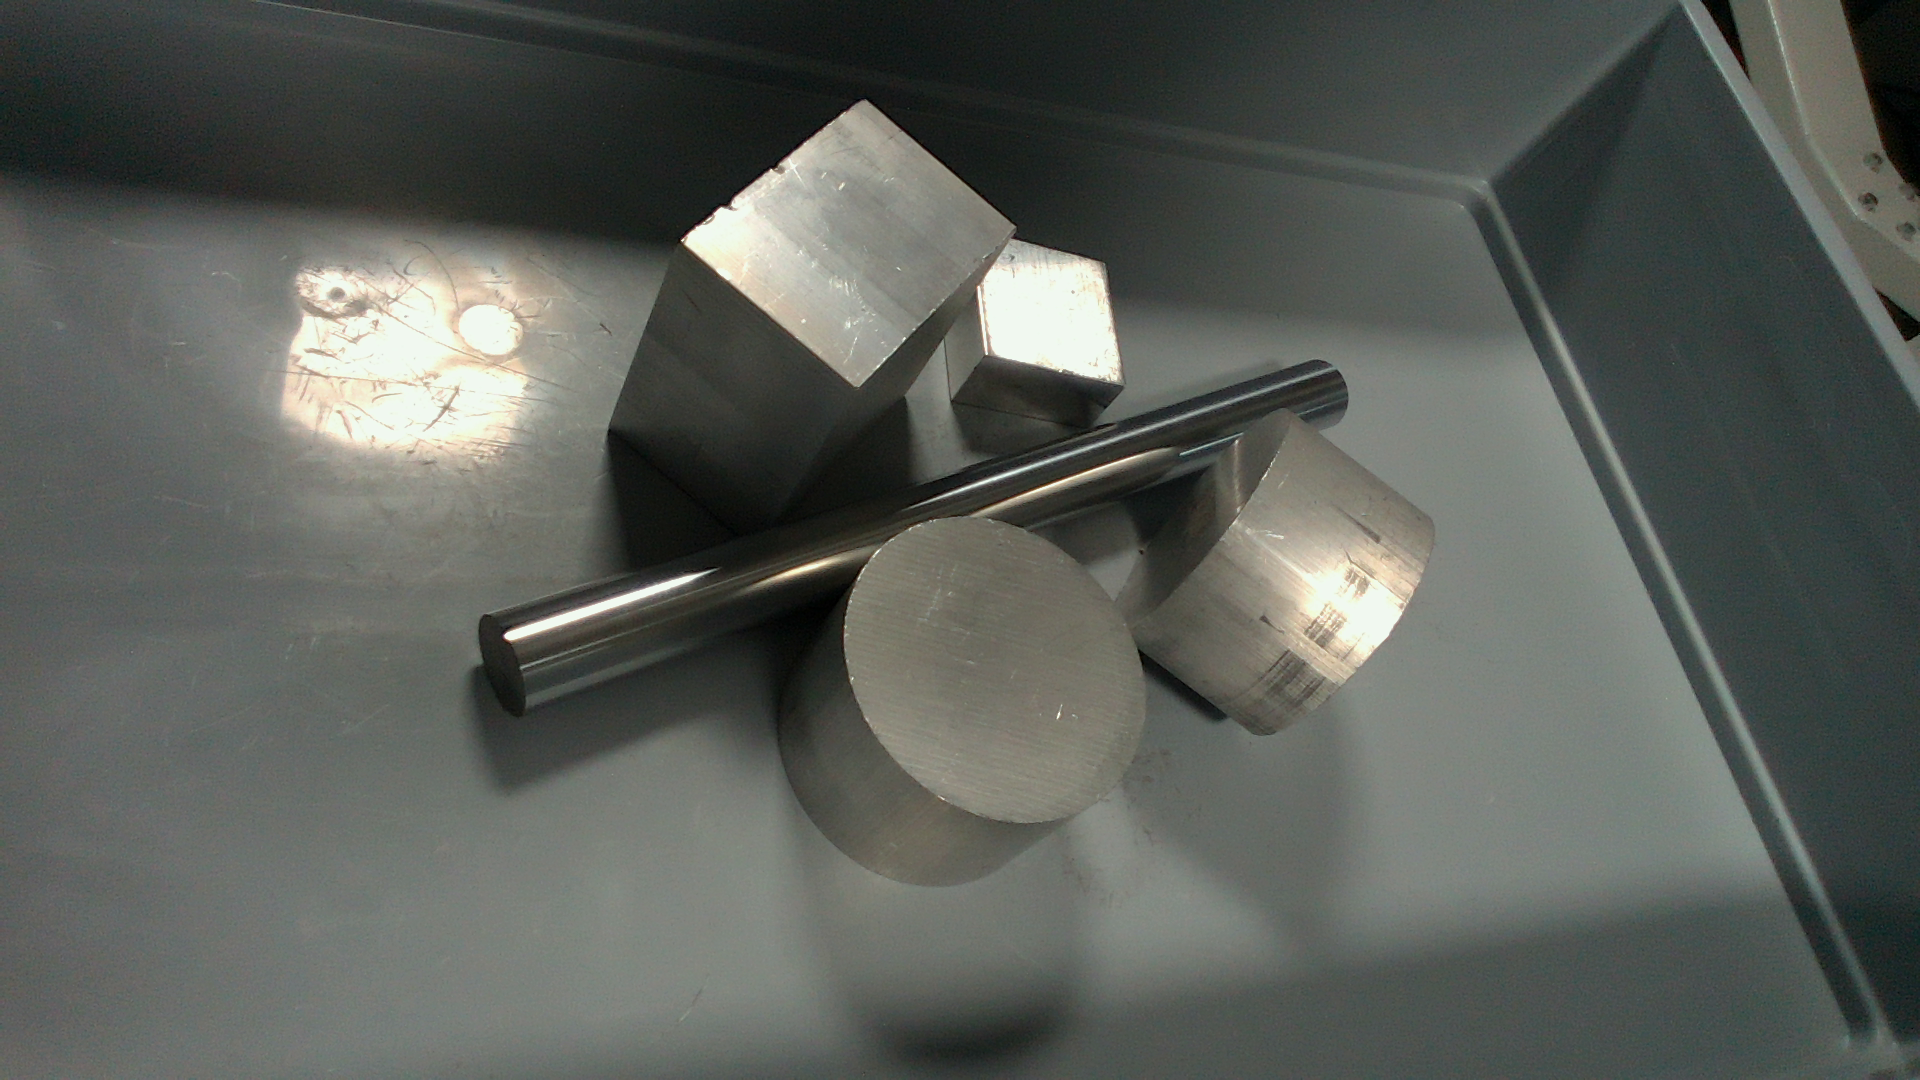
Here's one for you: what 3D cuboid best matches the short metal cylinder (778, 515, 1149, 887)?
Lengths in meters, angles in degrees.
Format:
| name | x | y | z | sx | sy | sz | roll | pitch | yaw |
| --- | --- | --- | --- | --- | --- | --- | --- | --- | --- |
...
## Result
| name | x | y | z | sx | sy | sz | roll | pitch | yaw |
| --- | --- | --- | --- | --- | --- | --- | --- | --- | --- |
| short metal cylinder | 0.000 | 0.041 | 0.347 | 0.080 | 0.050 | 0.080 | 14 | 56 | -21 |

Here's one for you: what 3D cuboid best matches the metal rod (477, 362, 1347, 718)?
| name | x | y | z | sx | sy | sz | roll | pitch | yaw |
| --- | --- | --- | --- | --- | --- | --- | --- | --- | --- |
| metal rod | 0.011 | -0.011 | 0.401 | 0.301 | 0.025 | 0.025 | -19 | 72 | -35 |

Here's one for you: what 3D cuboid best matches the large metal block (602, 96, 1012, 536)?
| name | x | y | z | sx | sy | sz | roll | pitch | yaw |
| --- | --- | --- | --- | --- | --- | --- | --- | --- | --- |
| large metal block | -0.041 | -0.057 | 0.367 | 0.050 | 0.080 | 0.080 | 40 | 51 | -1 |

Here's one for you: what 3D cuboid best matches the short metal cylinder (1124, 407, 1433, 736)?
| name | x | y | z | sx | sy | sz | roll | pitch | yaw |
| --- | --- | --- | --- | --- | --- | --- | --- | --- | --- |
| short metal cylinder | 0.088 | 0.009 | 0.395 | 0.050 | 0.080 | 0.080 | 37 | 51 | -4 |

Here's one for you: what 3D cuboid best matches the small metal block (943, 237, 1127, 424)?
| name | x | y | z | sx | sy | sz | roll | pitch | yaw |
| --- | --- | --- | --- | --- | --- | --- | --- | --- | --- |
| small metal block | 0.022 | -0.068 | 0.442 | 0.050 | 0.025 | 0.050 | 8 | 58 | -24 |
